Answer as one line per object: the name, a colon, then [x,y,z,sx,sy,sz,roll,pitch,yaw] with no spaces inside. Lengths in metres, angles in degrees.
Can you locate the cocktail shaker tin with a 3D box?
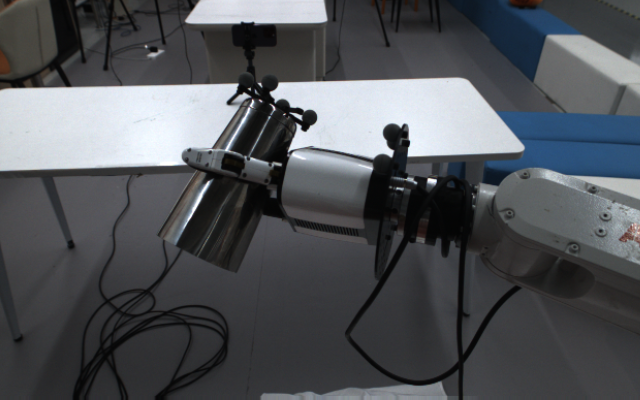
cocktail shaker tin: [-0.089,-0.021,0.518,0.093,0.093,0.170,21,81,25]
